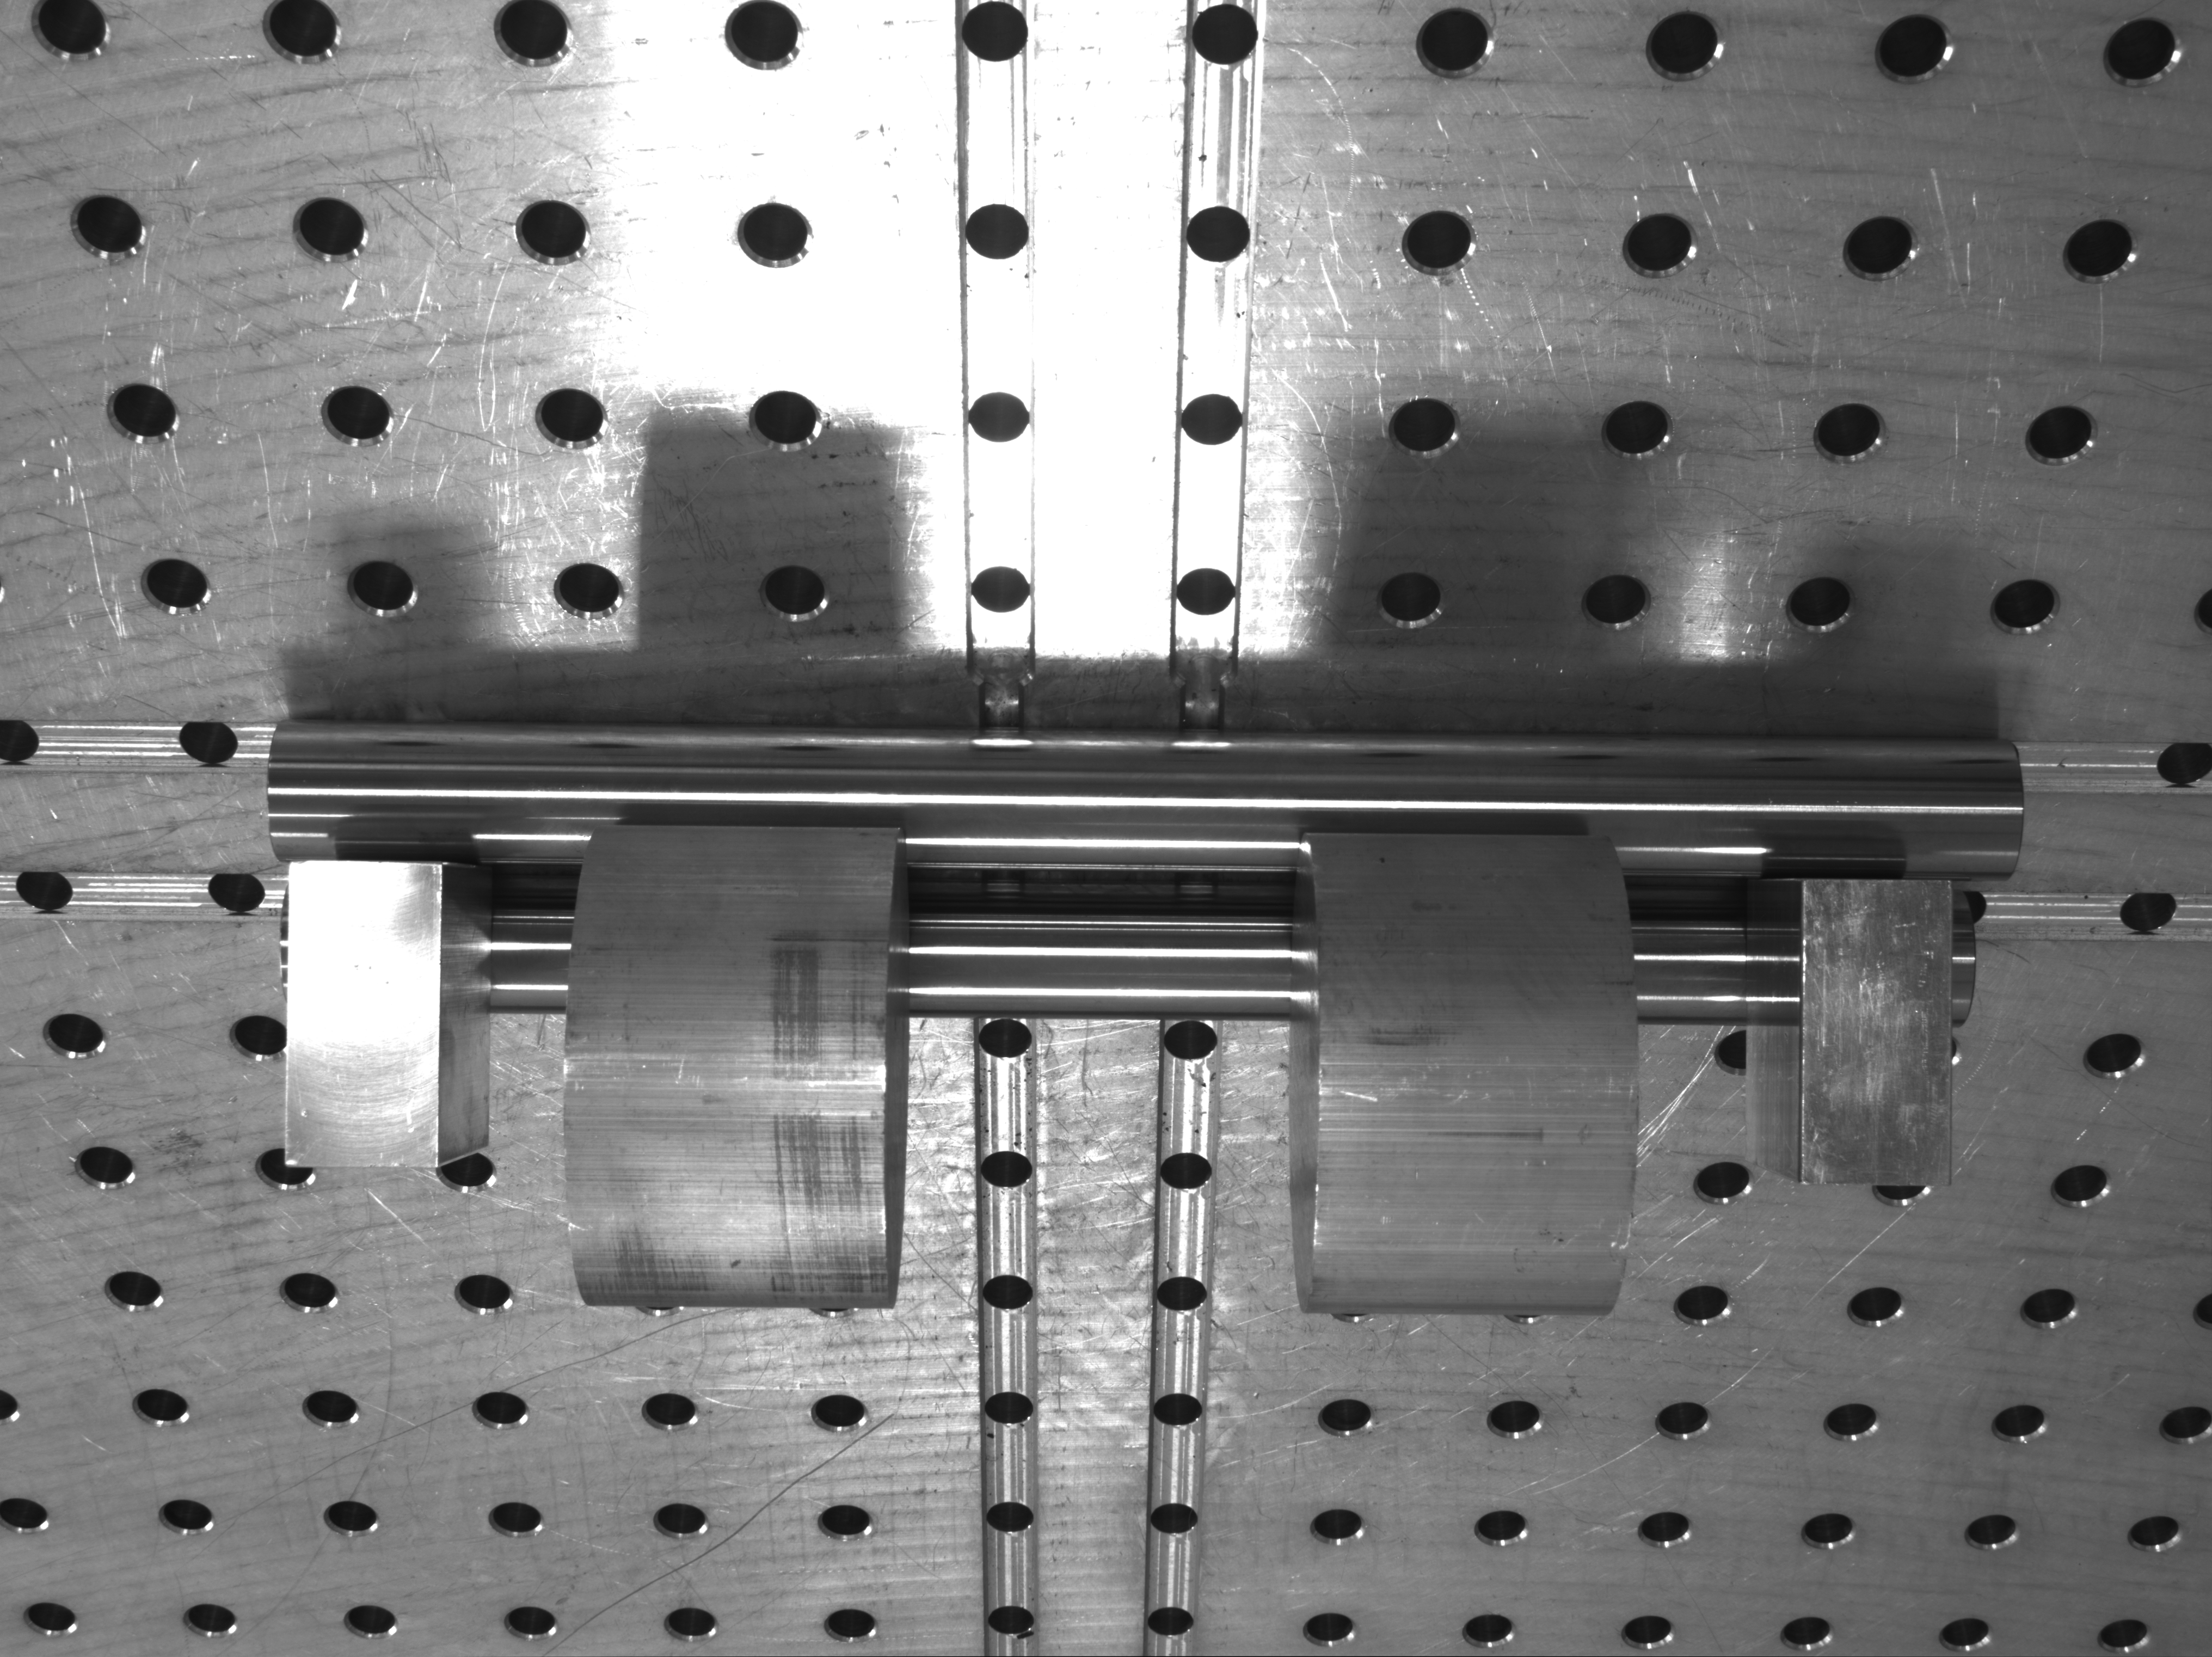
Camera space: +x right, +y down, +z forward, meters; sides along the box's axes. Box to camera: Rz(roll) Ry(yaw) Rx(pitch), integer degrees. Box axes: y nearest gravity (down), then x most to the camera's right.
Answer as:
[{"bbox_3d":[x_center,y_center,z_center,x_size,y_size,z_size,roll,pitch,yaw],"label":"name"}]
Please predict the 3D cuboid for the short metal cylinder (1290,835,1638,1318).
[{"bbox_3d":[0.058,0.041,0.613,0.050,0.080,0.080,0,130,0],"label":"short metal cylinder"}]

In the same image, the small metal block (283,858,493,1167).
[{"bbox_3d":[-0.121,0.031,0.623,0.025,0.050,0.050,1,88,0],"label":"small metal block"}]

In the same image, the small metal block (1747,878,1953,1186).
[{"bbox_3d":[0.126,0.034,0.625,0.025,0.050,0.050,1,89,0],"label":"small metal block"}]

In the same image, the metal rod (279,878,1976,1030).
[{"bbox_3d":[0.004,0.022,0.662,0.300,0.025,0.025,1,130,-1],"label":"metal rod"}]

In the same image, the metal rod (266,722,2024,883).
[{"bbox_3d":[0.007,-0.005,0.639,0.300,0.025,0.025,1,130,-1],"label":"metal rod"}]

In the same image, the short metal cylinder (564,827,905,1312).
[{"bbox_3d":[-0.060,0.040,0.612,0.050,0.080,0.080,0,130,0],"label":"short metal cylinder"}]
